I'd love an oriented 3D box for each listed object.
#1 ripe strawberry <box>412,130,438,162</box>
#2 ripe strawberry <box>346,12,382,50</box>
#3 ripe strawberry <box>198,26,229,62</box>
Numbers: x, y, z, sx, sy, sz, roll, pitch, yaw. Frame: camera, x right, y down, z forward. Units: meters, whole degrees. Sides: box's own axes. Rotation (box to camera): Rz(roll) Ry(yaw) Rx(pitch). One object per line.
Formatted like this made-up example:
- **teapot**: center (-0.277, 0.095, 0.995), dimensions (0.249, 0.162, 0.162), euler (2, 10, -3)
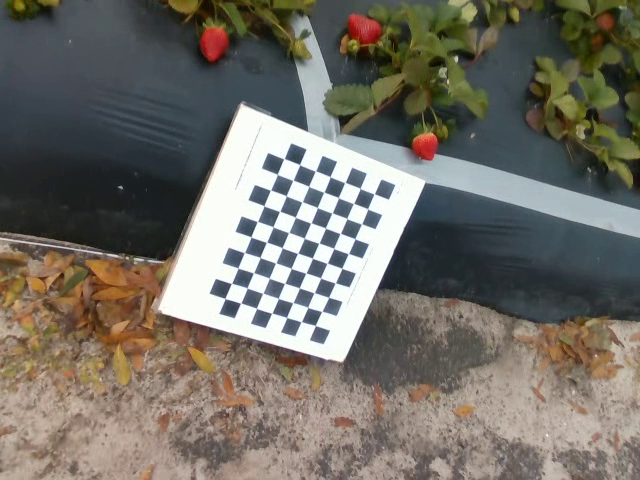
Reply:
- **ripe strawberry**: center (0.137, -0.126, 0.664), dimensions (0.039, 0.047, 0.041), euler (-14, 11, 1)
- **ripe strawberry**: center (0.055, -0.297, 0.654), dimensions (0.062, 0.043, 0.043), euler (40, 10, -12)
- **ripe strawberry**: center (-0.128, -0.224, 0.541), dimensions (0.036, 0.046, 0.040), euler (6, -31, -4)
